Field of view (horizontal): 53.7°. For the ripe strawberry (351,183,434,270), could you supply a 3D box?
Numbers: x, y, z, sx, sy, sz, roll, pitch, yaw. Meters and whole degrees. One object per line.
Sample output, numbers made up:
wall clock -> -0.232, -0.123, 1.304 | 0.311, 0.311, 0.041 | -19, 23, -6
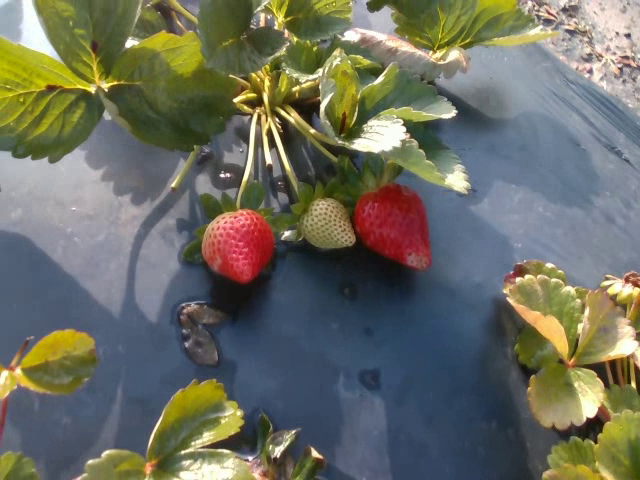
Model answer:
ripe strawberry -> 0.046, -0.006, 0.367 | 0.048, 0.065, 0.050 | -34, -19, 19
